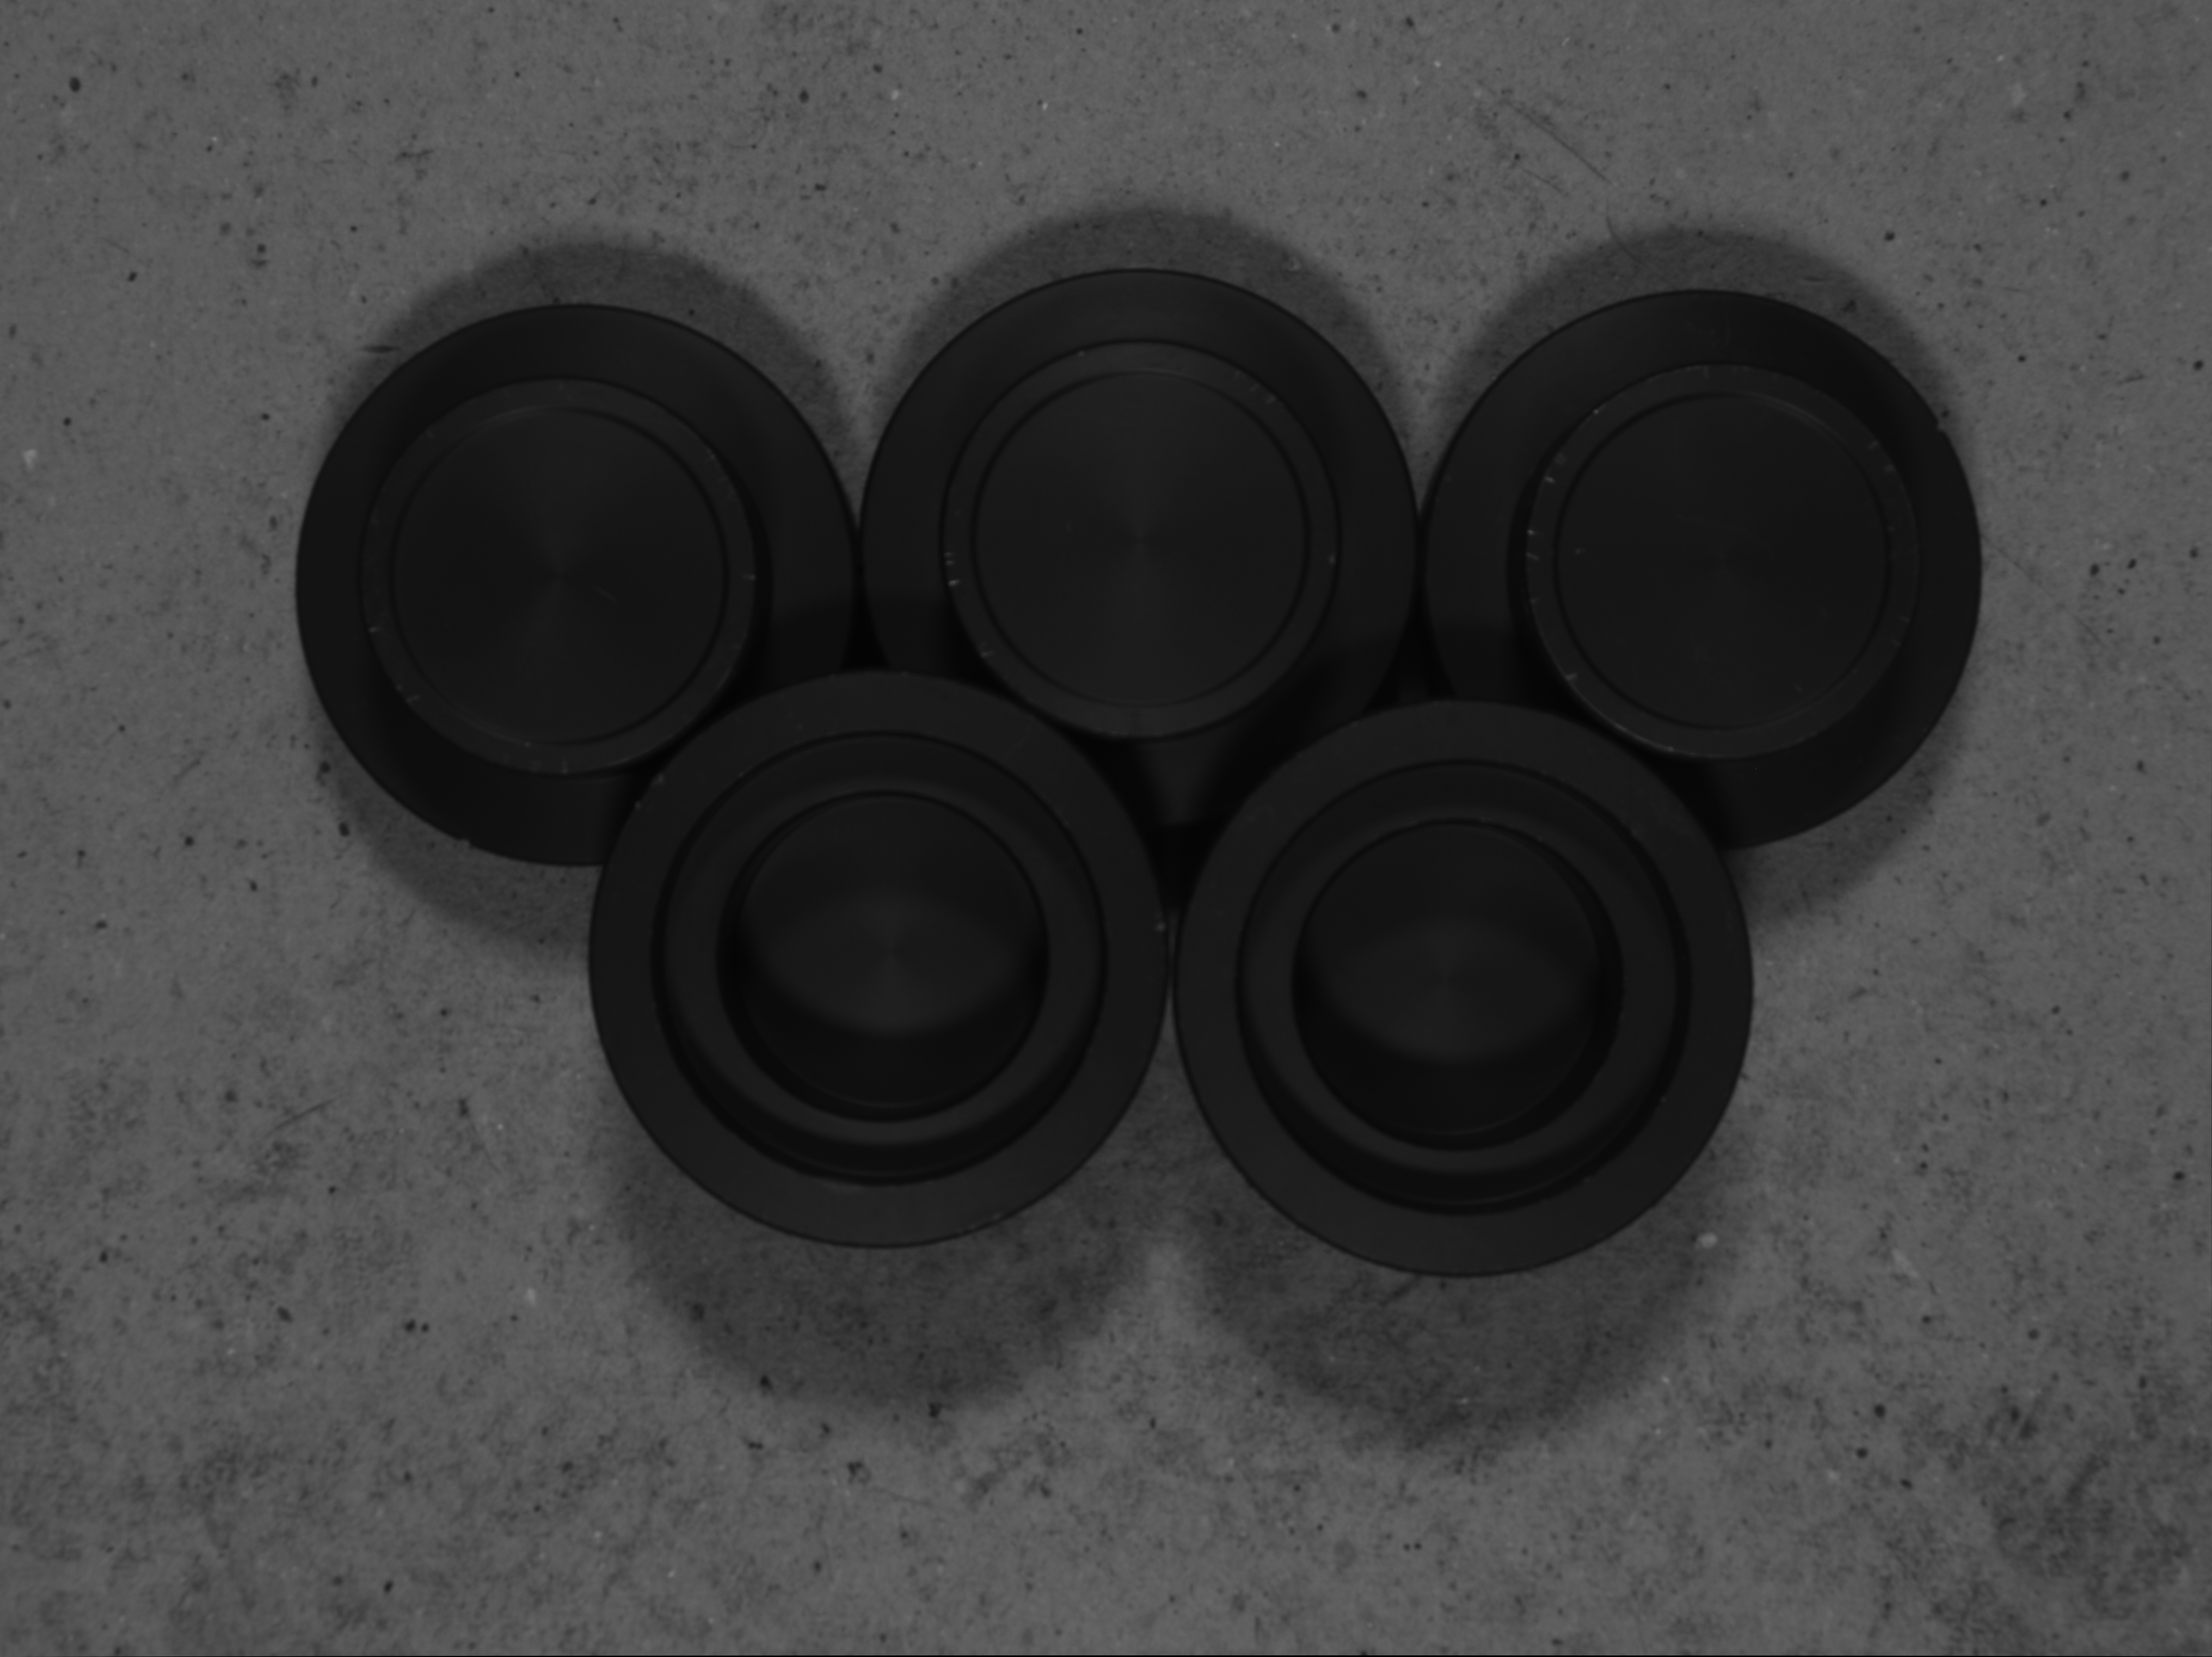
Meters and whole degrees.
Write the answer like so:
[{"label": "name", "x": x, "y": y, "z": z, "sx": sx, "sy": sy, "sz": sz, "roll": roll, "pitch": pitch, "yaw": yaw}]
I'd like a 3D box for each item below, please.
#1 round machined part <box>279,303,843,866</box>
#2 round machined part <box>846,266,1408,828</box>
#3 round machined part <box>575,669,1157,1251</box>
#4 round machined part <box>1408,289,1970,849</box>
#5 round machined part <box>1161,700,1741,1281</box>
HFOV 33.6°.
[{"label": "round machined part", "x": -0.095, "y": -0.043, "z": 0.636, "sx": 0.098, "sy": 0.042, "sz": 0.098, "roll": 0, "pitch": 90, "yaw": 0}, {"label": "round machined part", "x": 0.004, "y": -0.049, "z": 0.637, "sx": 0.098, "sy": 0.042, "sz": 0.098, "roll": 0, "pitch": 90, "yaw": 0}, {"label": "round machined part", "x": -0.040, "y": 0.022, "z": 0.636, "sx": 0.098, "sy": 0.042, "sz": 0.098, "roll": 0, "pitch": 90, "yaw": 0}, {"label": "round machined part", "x": 0.102, "y": -0.045, "z": 0.638, "sx": 0.098, "sy": 0.042, "sz": 0.098, "roll": 0, "pitch": 90, "yaw": 0}, {"label": "round machined part", "x": 0.058, "y": 0.027, "z": 0.637, "sx": 0.098, "sy": 0.042, "sz": 0.098, "roll": 0, "pitch": 90, "yaw": 0}]
